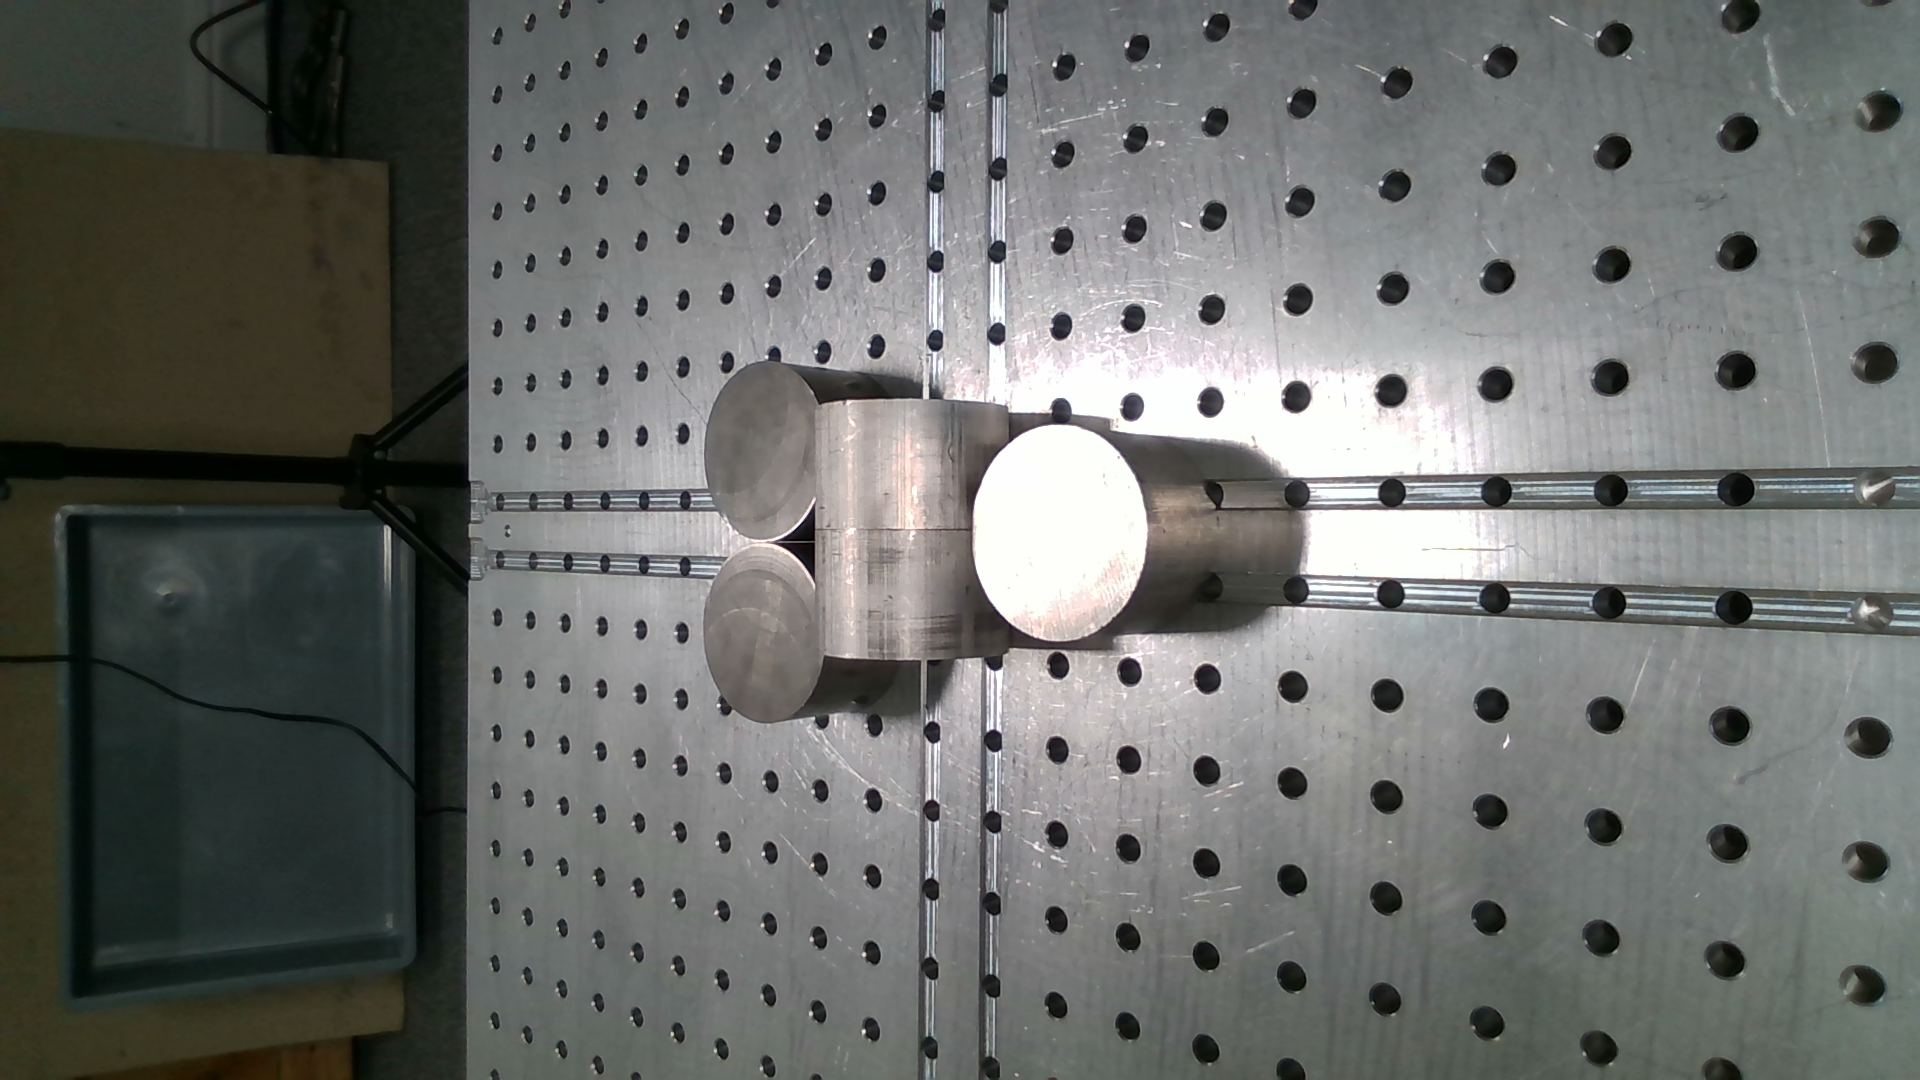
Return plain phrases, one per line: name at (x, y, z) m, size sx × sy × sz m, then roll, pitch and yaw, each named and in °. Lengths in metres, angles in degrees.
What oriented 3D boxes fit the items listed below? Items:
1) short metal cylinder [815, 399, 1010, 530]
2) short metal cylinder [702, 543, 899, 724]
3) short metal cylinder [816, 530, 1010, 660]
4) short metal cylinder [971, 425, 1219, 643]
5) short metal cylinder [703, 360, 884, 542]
short metal cylinder at (-0.020, -0.029, 0.566) m, size 0.080 × 0.080 × 0.050 m, roll 0°, pitch 91°, yaw 40°
short metal cylinder at (-0.072, 0.041, 0.628) m, size 0.080 × 0.050 × 0.080 m, roll 0°, pitch 91°, yaw 40°
short metal cylinder at (-0.019, 0.021, 0.566) m, size 0.080 × 0.080 × 0.050 m, roll 0°, pitch 91°, yaw 40°
short metal cylinder at (0.051, -0.002, 0.525) m, size 0.080 × 0.050 × 0.080 m, roll 0°, pitch 91°, yaw 40°
short metal cylinder at (-0.072, -0.039, 0.628) m, size 0.080 × 0.050 × 0.080 m, roll 0°, pitch 91°, yaw 40°
